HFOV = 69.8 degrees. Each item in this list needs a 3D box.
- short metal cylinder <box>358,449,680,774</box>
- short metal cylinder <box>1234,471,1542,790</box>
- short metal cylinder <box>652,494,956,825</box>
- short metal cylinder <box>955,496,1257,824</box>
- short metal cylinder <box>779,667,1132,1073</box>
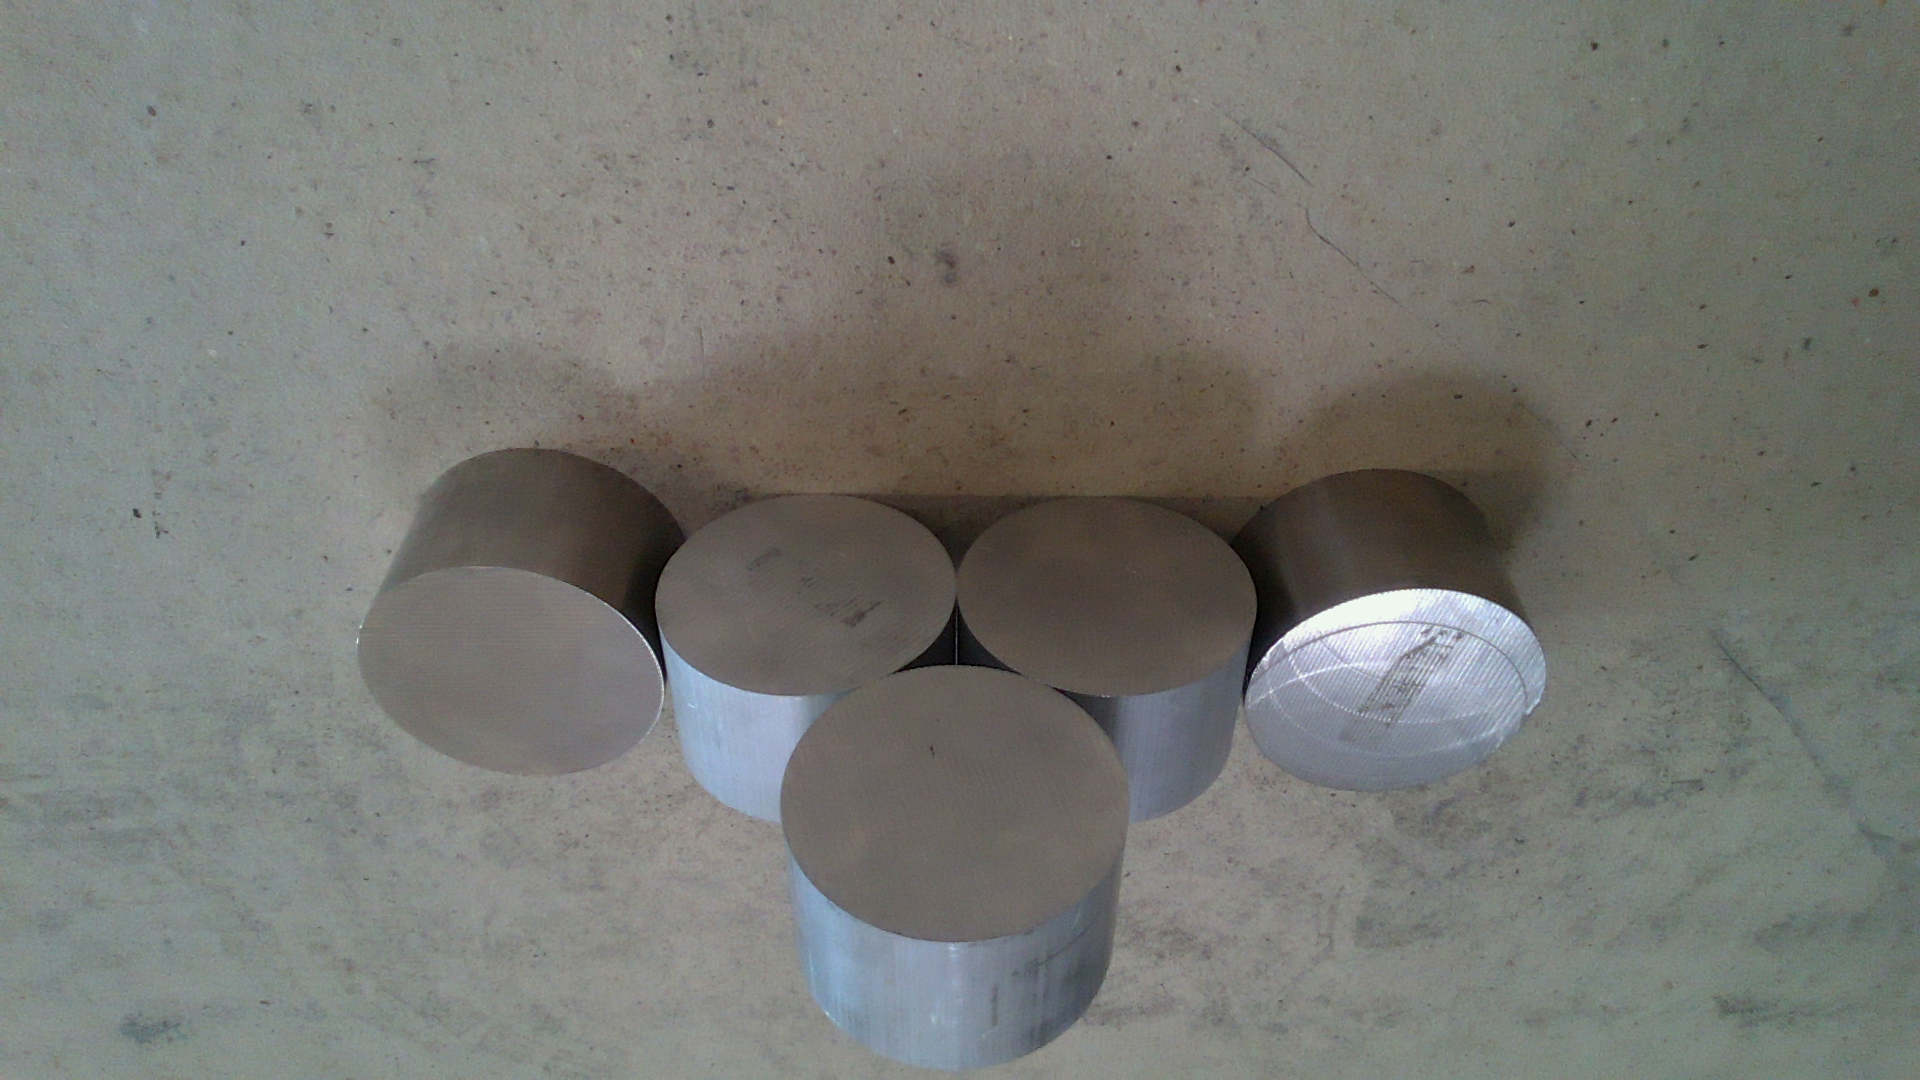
[{"bbox_3d":[-0.121,0.021,0.391,0.080,0.050,0.080,0,130,0],"label":"short metal cylinder"},{"bbox_3d":[0.119,0.027,0.397,0.080,0.050,0.080,0,131,0],"label":"short metal cylinder"},{"bbox_3d":[-0.041,0.032,0.381,0.080,0.080,0.050,0,130,0],"label":"short metal cylinder"},{"bbox_3d":[0.039,0.032,0.383,0.080,0.080,0.050,0,129,0],"label":"short metal cylinder"},{"bbox_3d":[-0.001,0.077,0.329,0.080,0.080,0.050,0,131,0],"label":"short metal cylinder"}]
